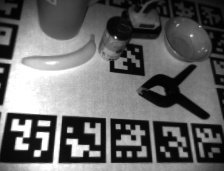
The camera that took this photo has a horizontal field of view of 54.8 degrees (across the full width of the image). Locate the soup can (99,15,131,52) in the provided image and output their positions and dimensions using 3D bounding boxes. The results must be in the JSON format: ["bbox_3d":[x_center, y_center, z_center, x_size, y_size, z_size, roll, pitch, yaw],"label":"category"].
[{"bbox_3d":[0.008,-0.144,0.560,0.068,0.102,0.067,8,58,-12],"label":"soup can"}]

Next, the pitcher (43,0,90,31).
[{"bbox_3d":[-0.090,-0.242,0.491,0.190,0.242,0.132,-17,71,-22],"label":"pitcher"}]

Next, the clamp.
[{"bbox_3d":[0.162,-0.006,0.578,0.204,0.036,0.165,5,72,-15],"label":"clamp"}]

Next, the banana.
[{"bbox_3d":[-0.121,-0.100,0.540,0.199,0.039,0.073,-18,66,-24],"label":"banana"}]

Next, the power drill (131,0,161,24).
[{"bbox_3d":[0.140,-0.243,0.571,0.186,0.186,0.057,2,68,-16],"label":"power drill"}]

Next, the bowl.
[{"bbox_3d":[0.224,-0.146,0.651,0.163,0.055,0.161,6,69,-14],"label":"bowl"}]
